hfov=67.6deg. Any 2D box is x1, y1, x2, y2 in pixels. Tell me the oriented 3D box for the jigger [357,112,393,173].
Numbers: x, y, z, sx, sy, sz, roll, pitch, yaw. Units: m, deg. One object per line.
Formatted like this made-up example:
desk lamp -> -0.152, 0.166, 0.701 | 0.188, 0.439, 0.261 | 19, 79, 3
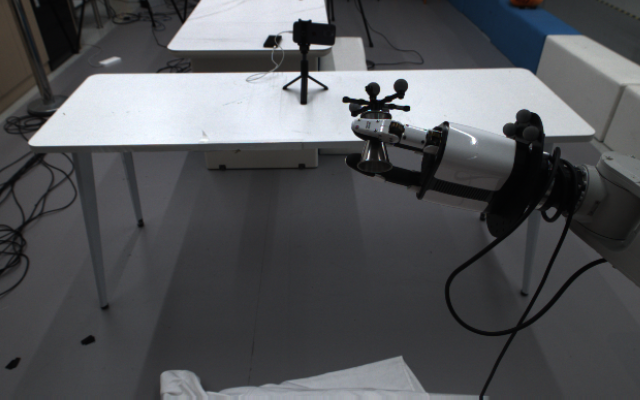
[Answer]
jigger -> 0.068, -0.074, 0.609 | 0.043, 0.043, 0.071 | 3, 75, 1
